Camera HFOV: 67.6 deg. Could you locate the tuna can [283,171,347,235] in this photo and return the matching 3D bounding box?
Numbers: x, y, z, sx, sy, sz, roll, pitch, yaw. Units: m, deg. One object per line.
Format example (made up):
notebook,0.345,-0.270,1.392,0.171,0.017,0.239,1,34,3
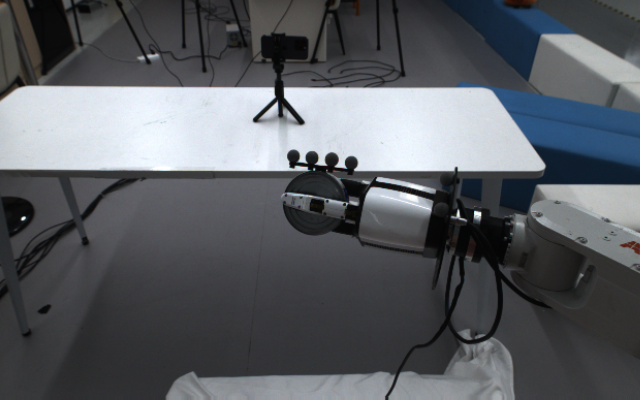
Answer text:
tuna can,-0.004,0.002,0.648,0.085,0.085,0.034,11,2,13
